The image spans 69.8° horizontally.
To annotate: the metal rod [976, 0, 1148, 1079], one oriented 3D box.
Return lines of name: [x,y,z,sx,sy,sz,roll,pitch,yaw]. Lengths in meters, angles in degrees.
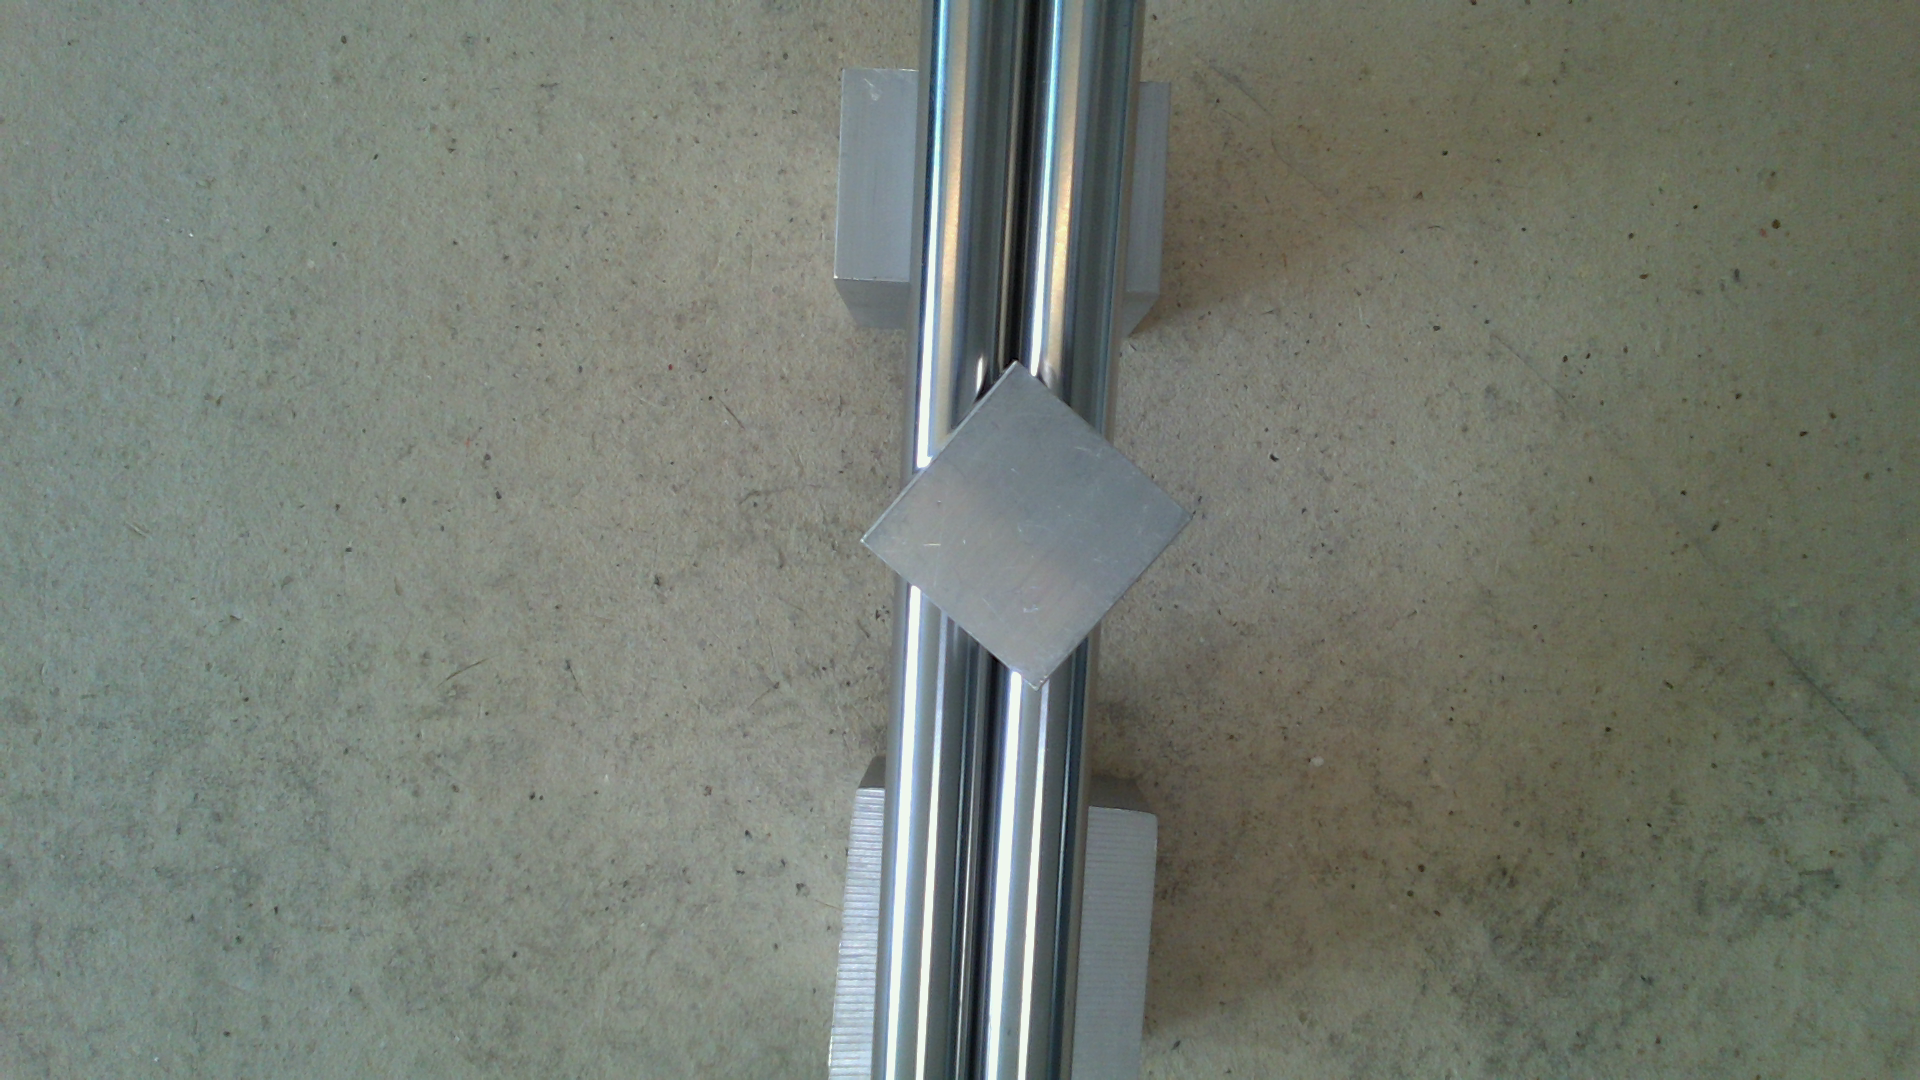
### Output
metal rod: [0.023,-0.004,0.323,0.025,0.025,0.300,3,97,0]

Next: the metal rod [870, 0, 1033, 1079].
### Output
metal rod: [-0.002,-0.006,0.323,0.025,0.025,0.300,3,97,0]

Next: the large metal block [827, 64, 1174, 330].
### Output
large metal block: [0.010,-0.086,0.368,0.080,0.080,0.050,3,90,0]

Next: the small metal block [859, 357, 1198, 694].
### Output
small metal block: [0.014,-0.004,0.298,0.050,0.025,0.050,41,96,-6]

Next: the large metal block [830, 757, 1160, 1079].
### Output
large metal block: [0.009,0.107,0.383,0.080,0.050,0.080,5,90,0]
